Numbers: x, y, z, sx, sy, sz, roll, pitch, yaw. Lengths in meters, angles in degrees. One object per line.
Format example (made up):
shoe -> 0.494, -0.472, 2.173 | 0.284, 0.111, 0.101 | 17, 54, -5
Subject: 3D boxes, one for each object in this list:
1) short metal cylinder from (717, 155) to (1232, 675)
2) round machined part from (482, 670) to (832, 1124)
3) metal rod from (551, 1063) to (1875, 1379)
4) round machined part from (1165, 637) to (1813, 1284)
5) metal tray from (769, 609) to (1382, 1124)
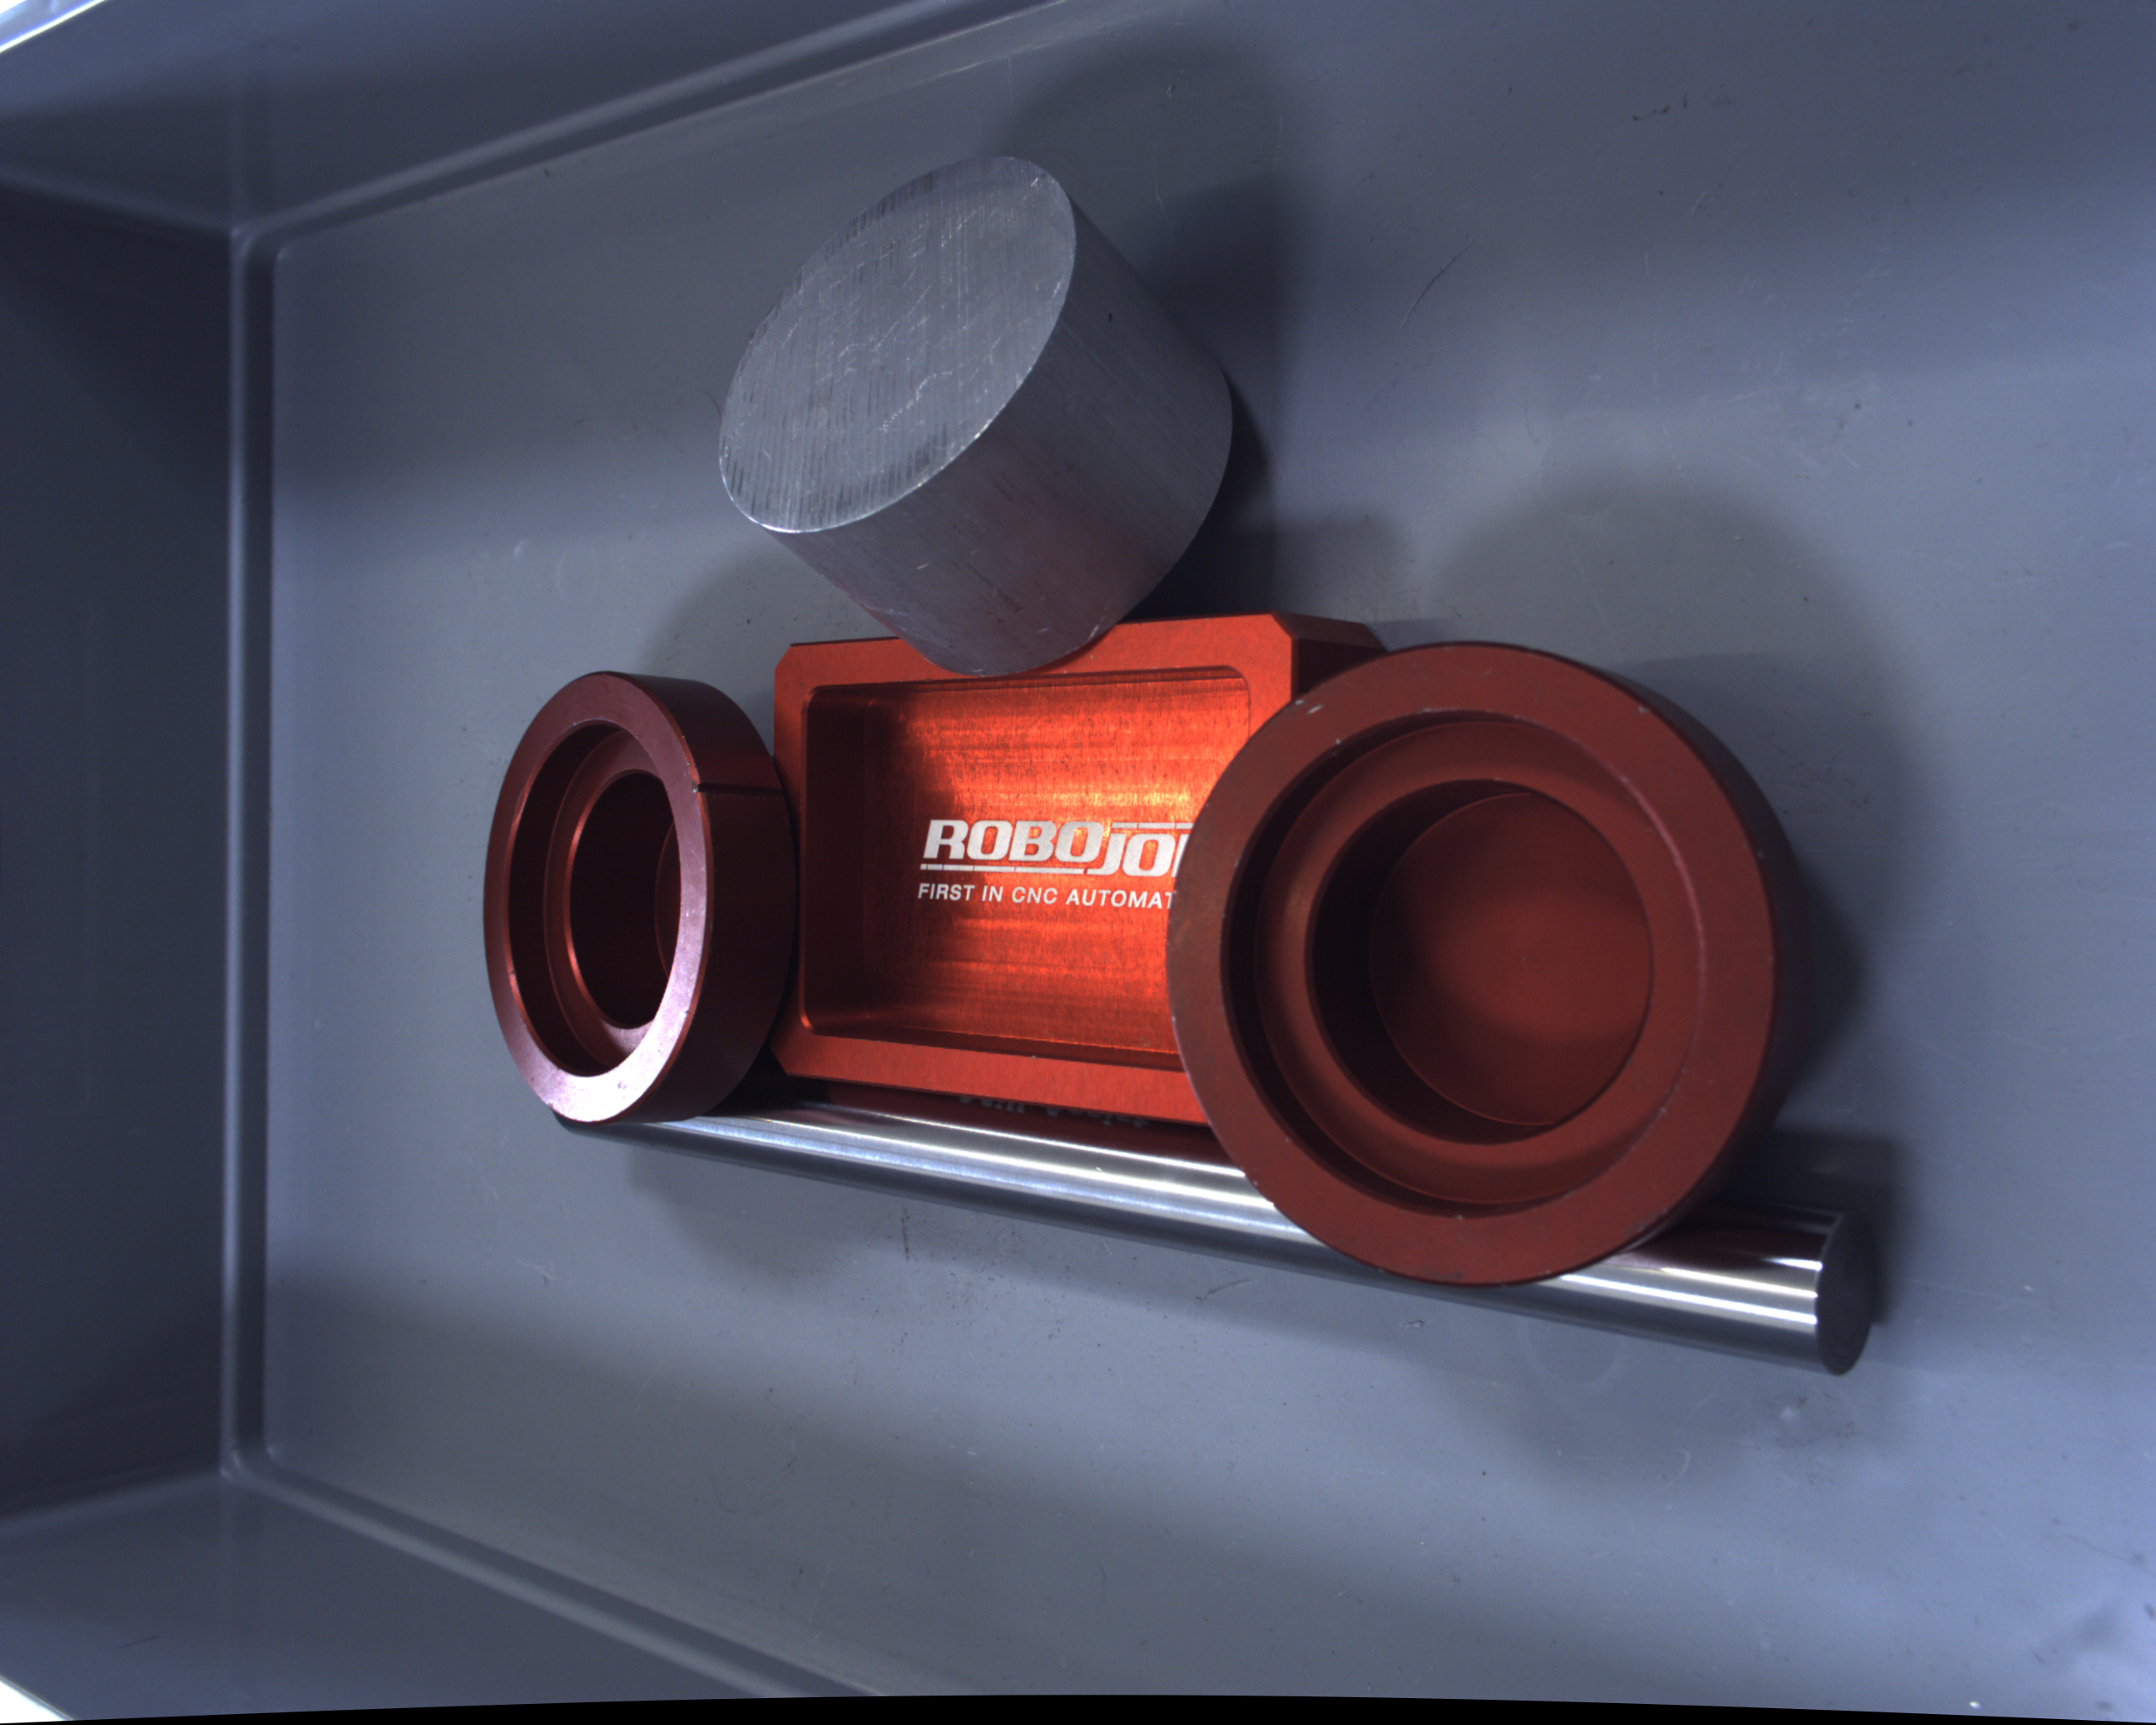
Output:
short metal cylinder -> -0.019, -0.082, 0.385 | 0.080, 0.050, 0.080 | -20, 52, 29
round machined part -> -0.090, 0.008, 0.461 | 0.098, 0.042, 0.097 | -4, 84, 48
metal rod -> -0.002, 0.059, 0.405 | 0.300, 0.025, 0.025 | 3, 92, 39
round machined part -> 0.067, 0.015, 0.332 | 0.098, 0.042, 0.097 | -1, 88, 32
metal tray -> -0.005, 0.000, 0.404 | 0.130, 0.030, 0.089 | 1, 91, 39
